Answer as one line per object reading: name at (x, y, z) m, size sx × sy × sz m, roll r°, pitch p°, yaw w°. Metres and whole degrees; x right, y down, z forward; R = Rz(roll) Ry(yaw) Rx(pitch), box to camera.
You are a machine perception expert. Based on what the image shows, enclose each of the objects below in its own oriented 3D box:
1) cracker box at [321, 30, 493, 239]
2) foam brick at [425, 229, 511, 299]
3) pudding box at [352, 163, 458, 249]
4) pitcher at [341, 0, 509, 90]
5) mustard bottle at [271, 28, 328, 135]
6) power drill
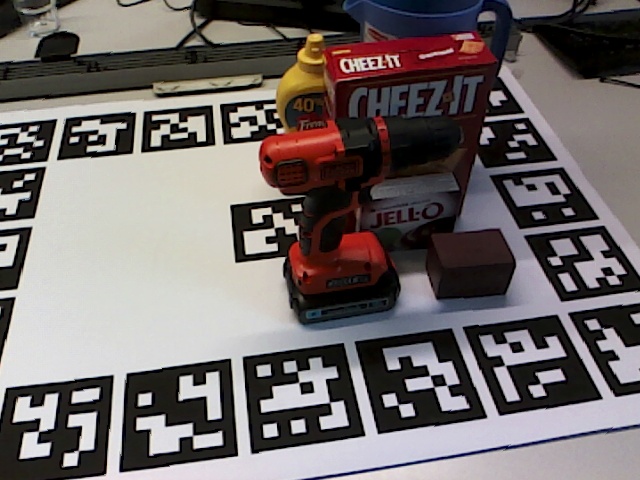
cracker box at (0.091, -0.108, 0.685) m, size 0.164 × 0.213 × 0.072 m, roll -10°, pitch 45°, yaw -5°
foam brick at (0.159, 0.026, 0.675) m, size 0.078 × 0.051 × 0.053 m, roll -5°, pitch 48°, yaw -4°
pudding box at (0.092, -0.035, 0.690) m, size 0.114 × 0.089 × 0.039 m, roll -8°, pitch 45°, yaw -3°
pitcher at (0.121, -0.190, 0.756) m, size 0.189 × 0.242 × 0.134 m, roll -4°, pitch 47°, yaw 0°
mustard bottle at (-0.010, -0.166, 0.751) m, size 0.096 × 0.191 × 0.058 m, roll 3°, pitch 48°, yaw 3°
power drill at (0.040, -0.031, 0.592) m, size 0.184 × 0.186 × 0.057 m, roll -7°, pitch 43°, yaw -7°
